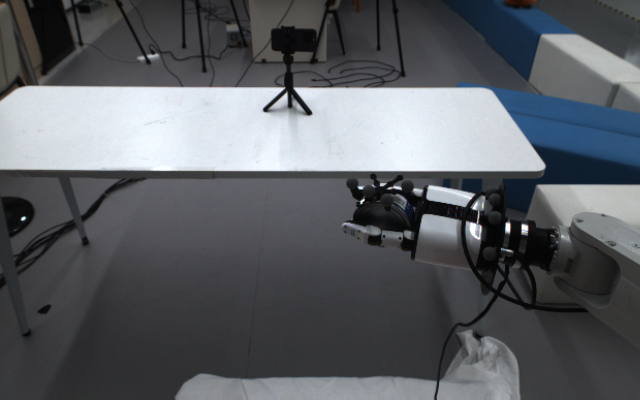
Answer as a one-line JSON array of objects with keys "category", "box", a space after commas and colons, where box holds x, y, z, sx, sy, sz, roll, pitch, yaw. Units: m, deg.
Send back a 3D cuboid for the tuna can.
[{"category": "tuna can", "box": [0.095, 0.025, 0.705, 0.085, 0.085, 0.034, 14, 41, 16]}]
